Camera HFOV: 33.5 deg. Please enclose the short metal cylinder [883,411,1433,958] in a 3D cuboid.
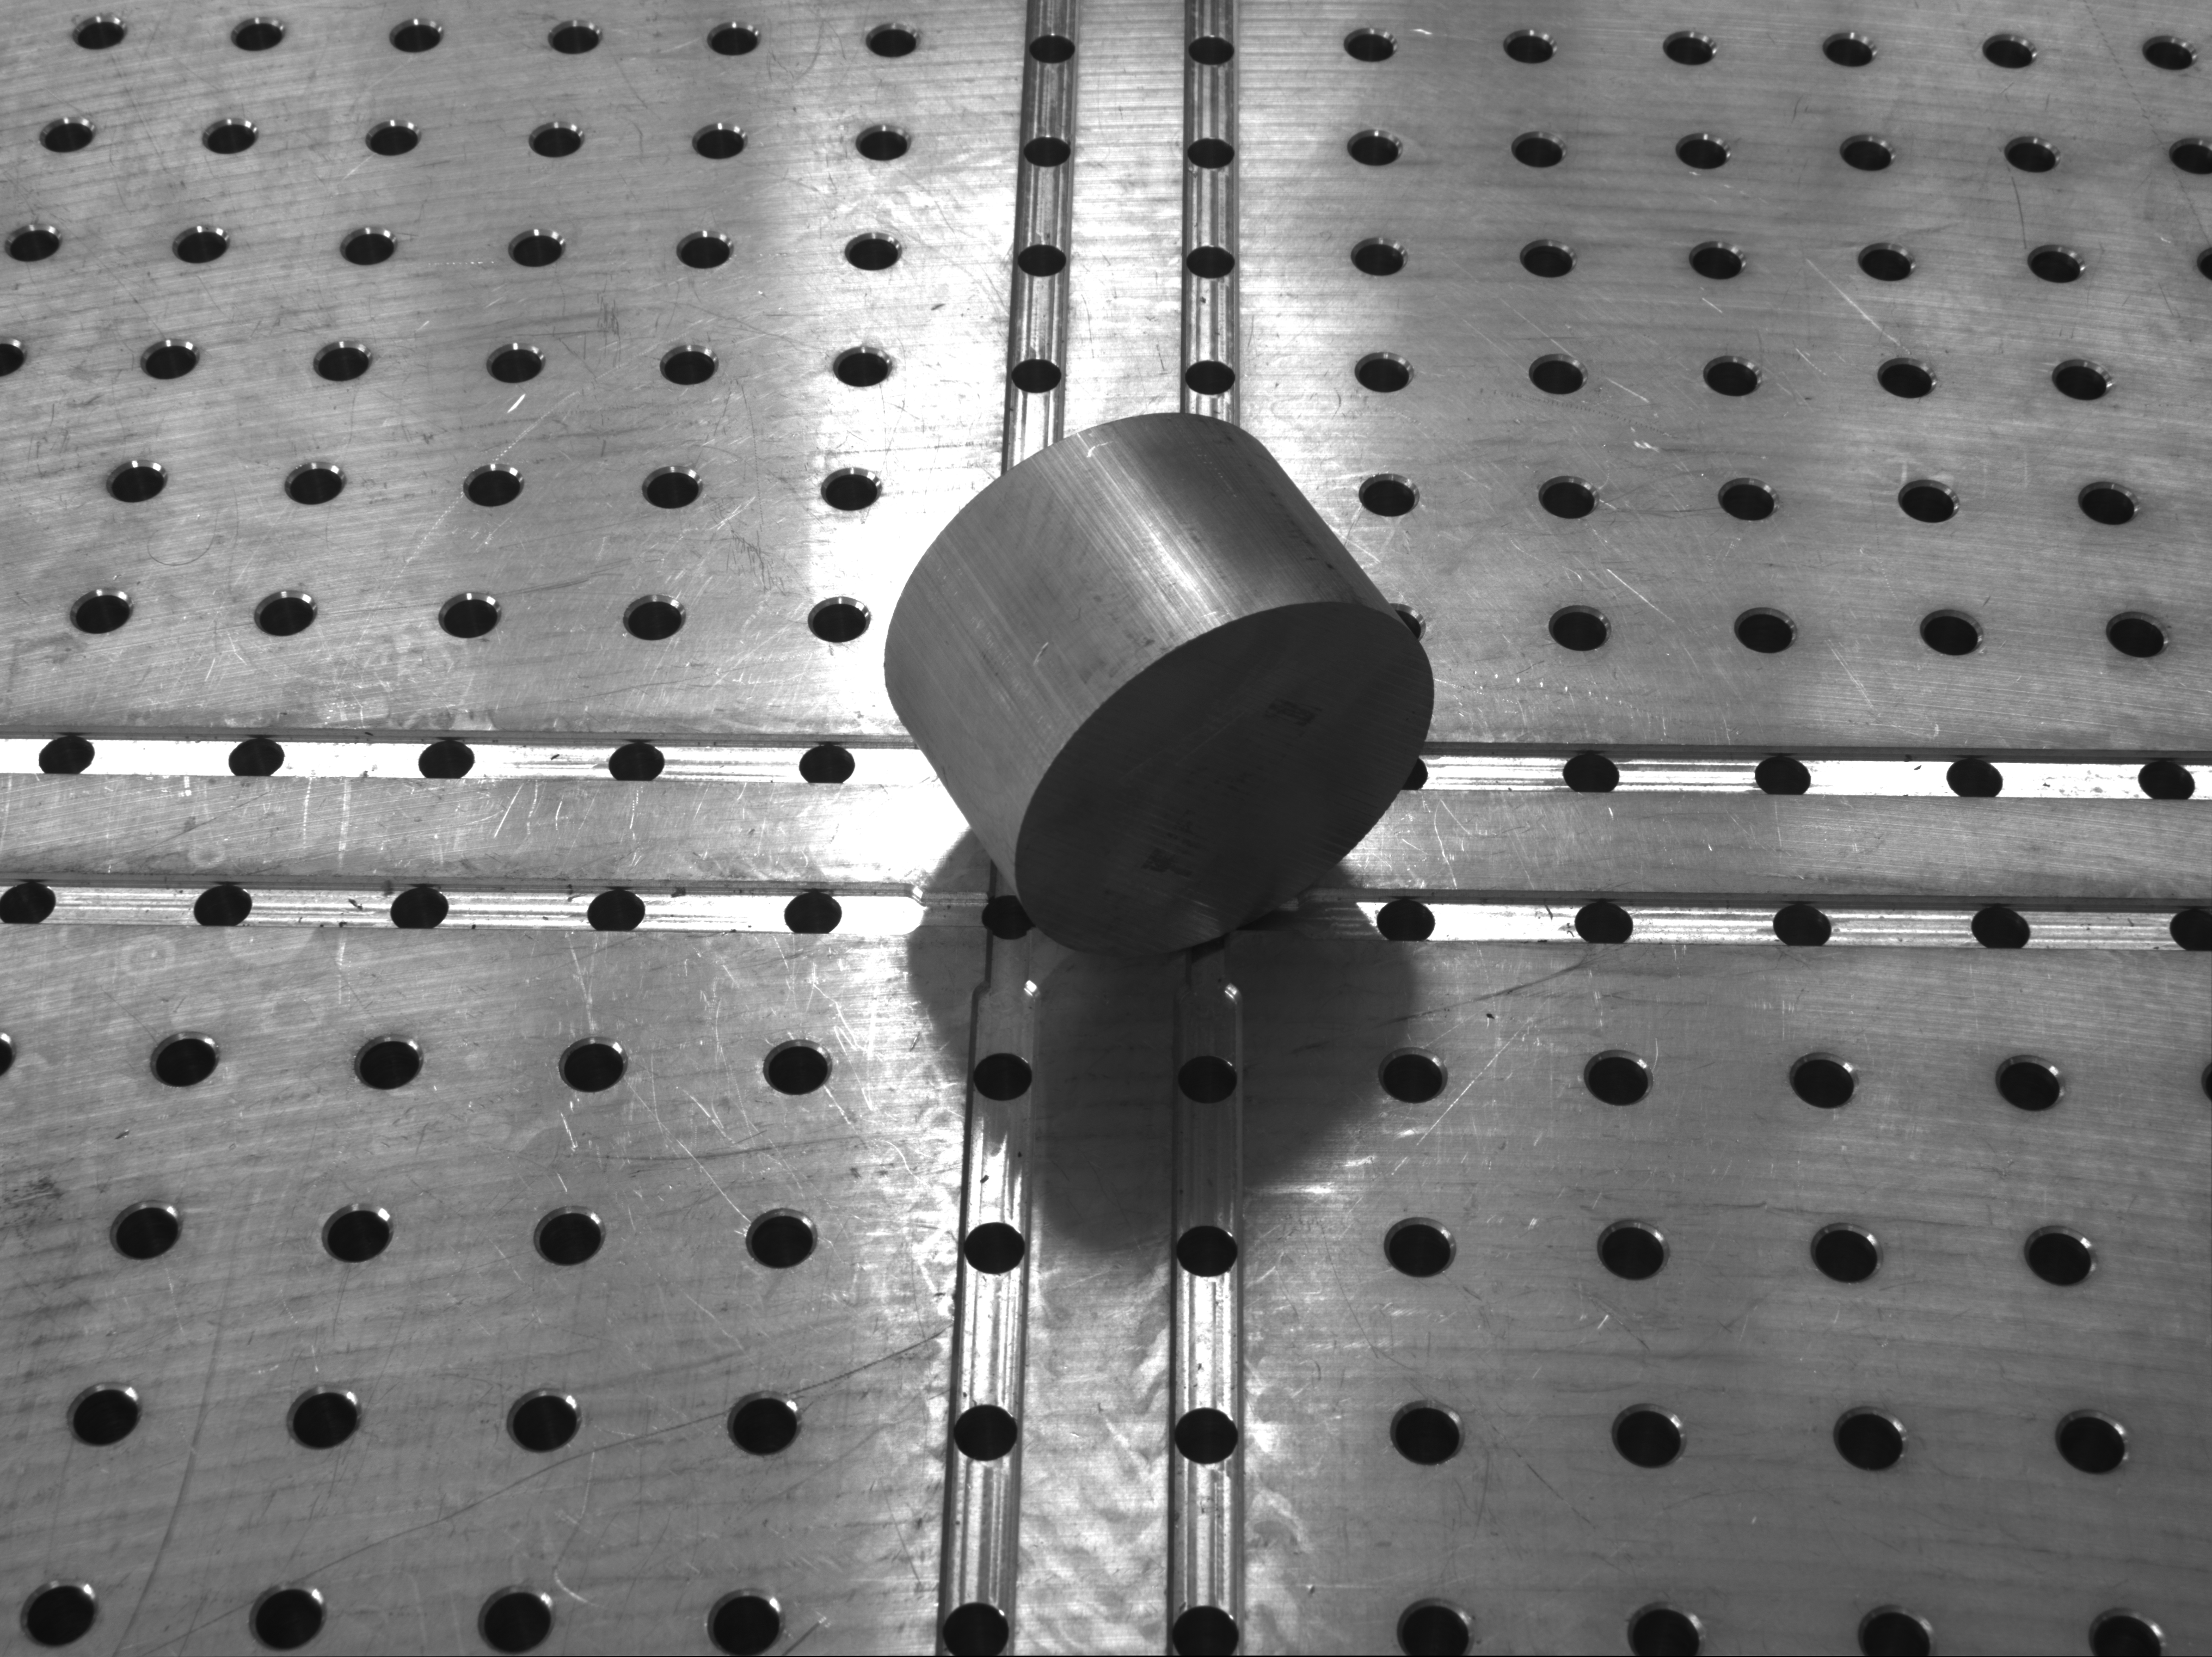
[{"bbox_3d":[0.009,-0.024,0.629,0.080,0.080,0.050,-22,52,-17],"label":"short metal cylinder"}]
